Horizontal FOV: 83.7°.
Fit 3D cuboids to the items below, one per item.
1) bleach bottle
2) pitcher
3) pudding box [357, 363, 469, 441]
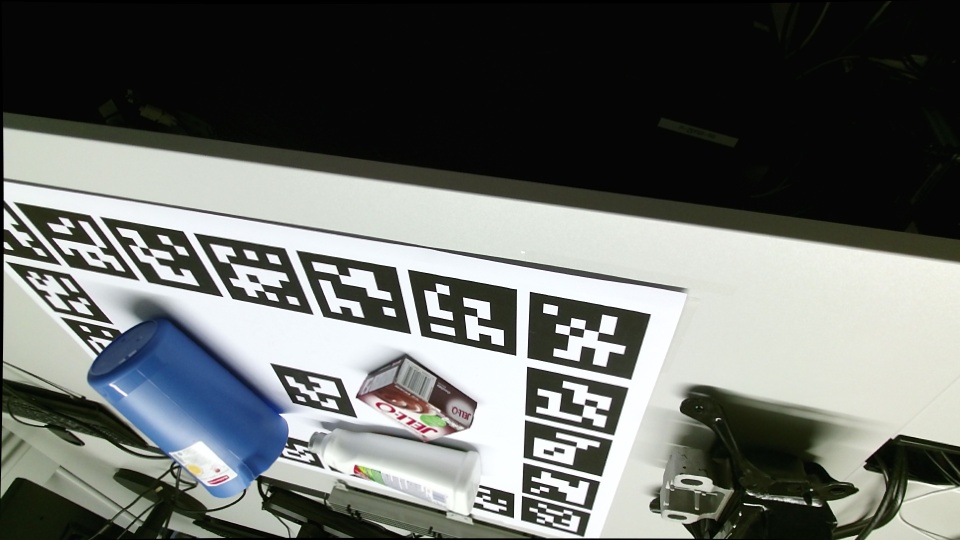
[{"bbox_3d":[-0.133,0.283,0.761,0.251,0.067,0.102,8,130,17],"label":"bleach bottle"},{"bbox_3d":[-0.394,0.179,0.735,0.188,0.133,0.243,21,145,55],"label":"pitcher"},{"bbox_3d":[-0.083,0.162,0.632,0.114,0.038,0.090,42,138,-18],"label":"pudding box"}]
